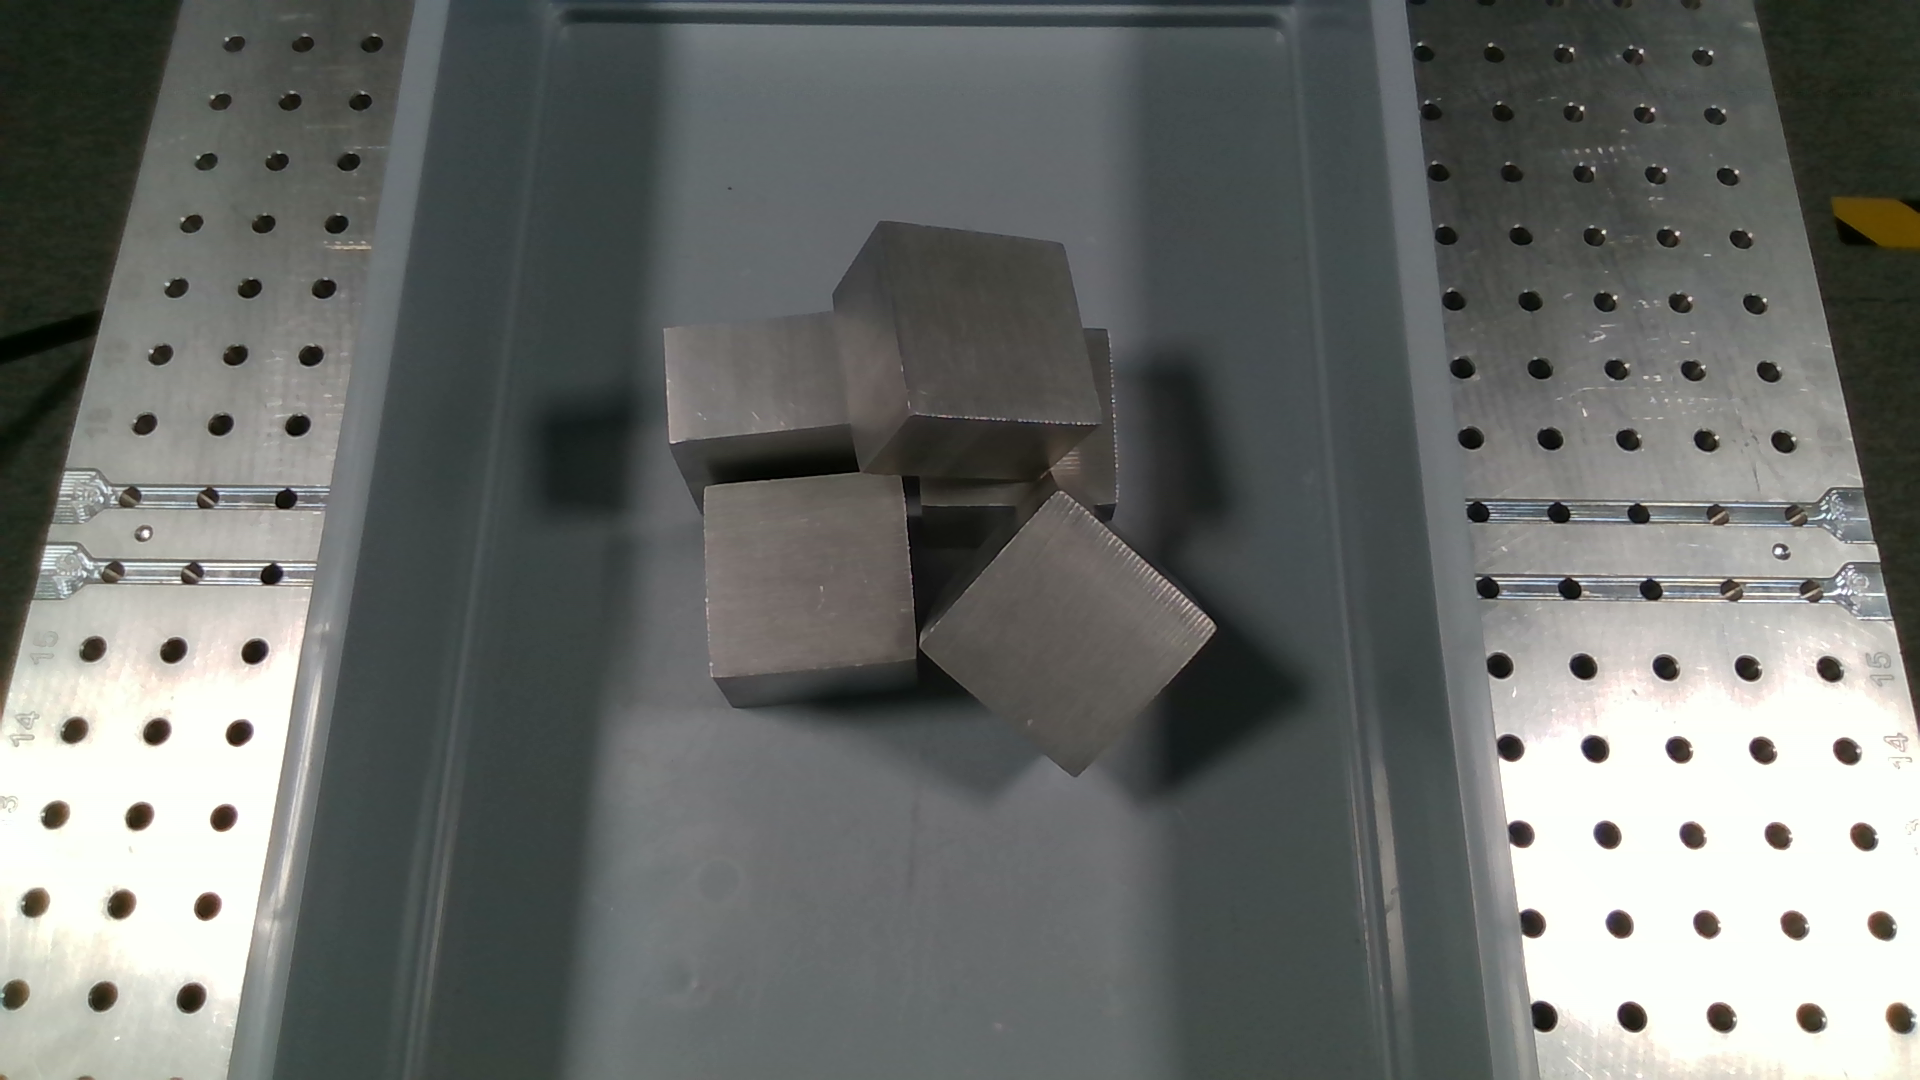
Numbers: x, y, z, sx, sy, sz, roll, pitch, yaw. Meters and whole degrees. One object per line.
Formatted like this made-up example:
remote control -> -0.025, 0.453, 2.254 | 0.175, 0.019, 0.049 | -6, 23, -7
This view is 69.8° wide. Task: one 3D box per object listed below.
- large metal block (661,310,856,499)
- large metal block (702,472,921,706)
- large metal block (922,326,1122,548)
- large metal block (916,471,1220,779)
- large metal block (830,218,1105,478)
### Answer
large metal block -> -0.076, -0.052, 0.576 | 0.080, 0.080, 0.050 | -6, 70, -2
large metal block -> -0.060, 0.020, 0.564 | 0.080, 0.050, 0.080 | -5, 70, -2
large metal block -> 0.024, -0.043, 0.589 | 0.080, 0.050, 0.080 | -1, 70, 0
large metal block -> 0.040, 0.030, 0.536 | 0.080, 0.050, 0.080 | 40, 99, -8
large metal block -> 0.001, -0.071, 0.530 | 0.080, 0.050, 0.080 | 0, 68, -27
